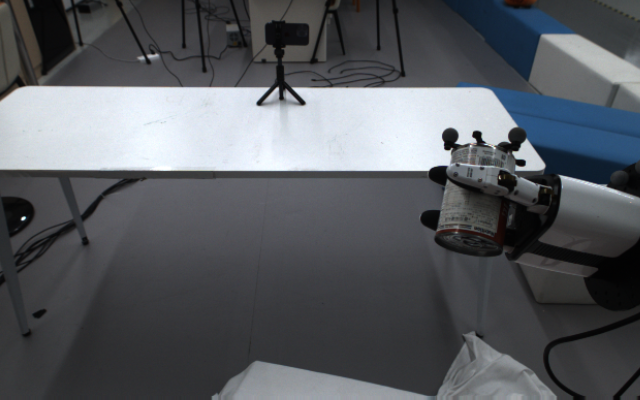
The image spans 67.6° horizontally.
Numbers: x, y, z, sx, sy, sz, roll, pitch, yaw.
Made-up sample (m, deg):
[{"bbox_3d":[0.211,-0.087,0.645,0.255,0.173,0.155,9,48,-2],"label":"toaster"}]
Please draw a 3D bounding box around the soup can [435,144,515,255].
[{"bbox_3d":[0.164,-0.001,0.507,0.067,0.067,0.101,11,73,13],"label":"soup can"}]
